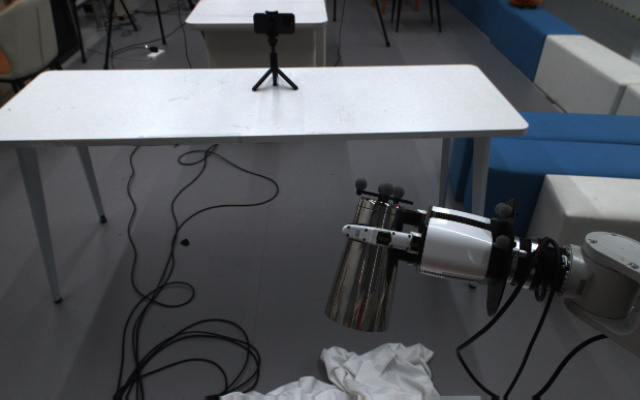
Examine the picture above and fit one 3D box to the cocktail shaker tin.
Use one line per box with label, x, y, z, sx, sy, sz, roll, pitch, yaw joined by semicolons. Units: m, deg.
cocktail shaker tin;0.071;0.083;0.681;0.093;0.170;0.093;13;3;-1
